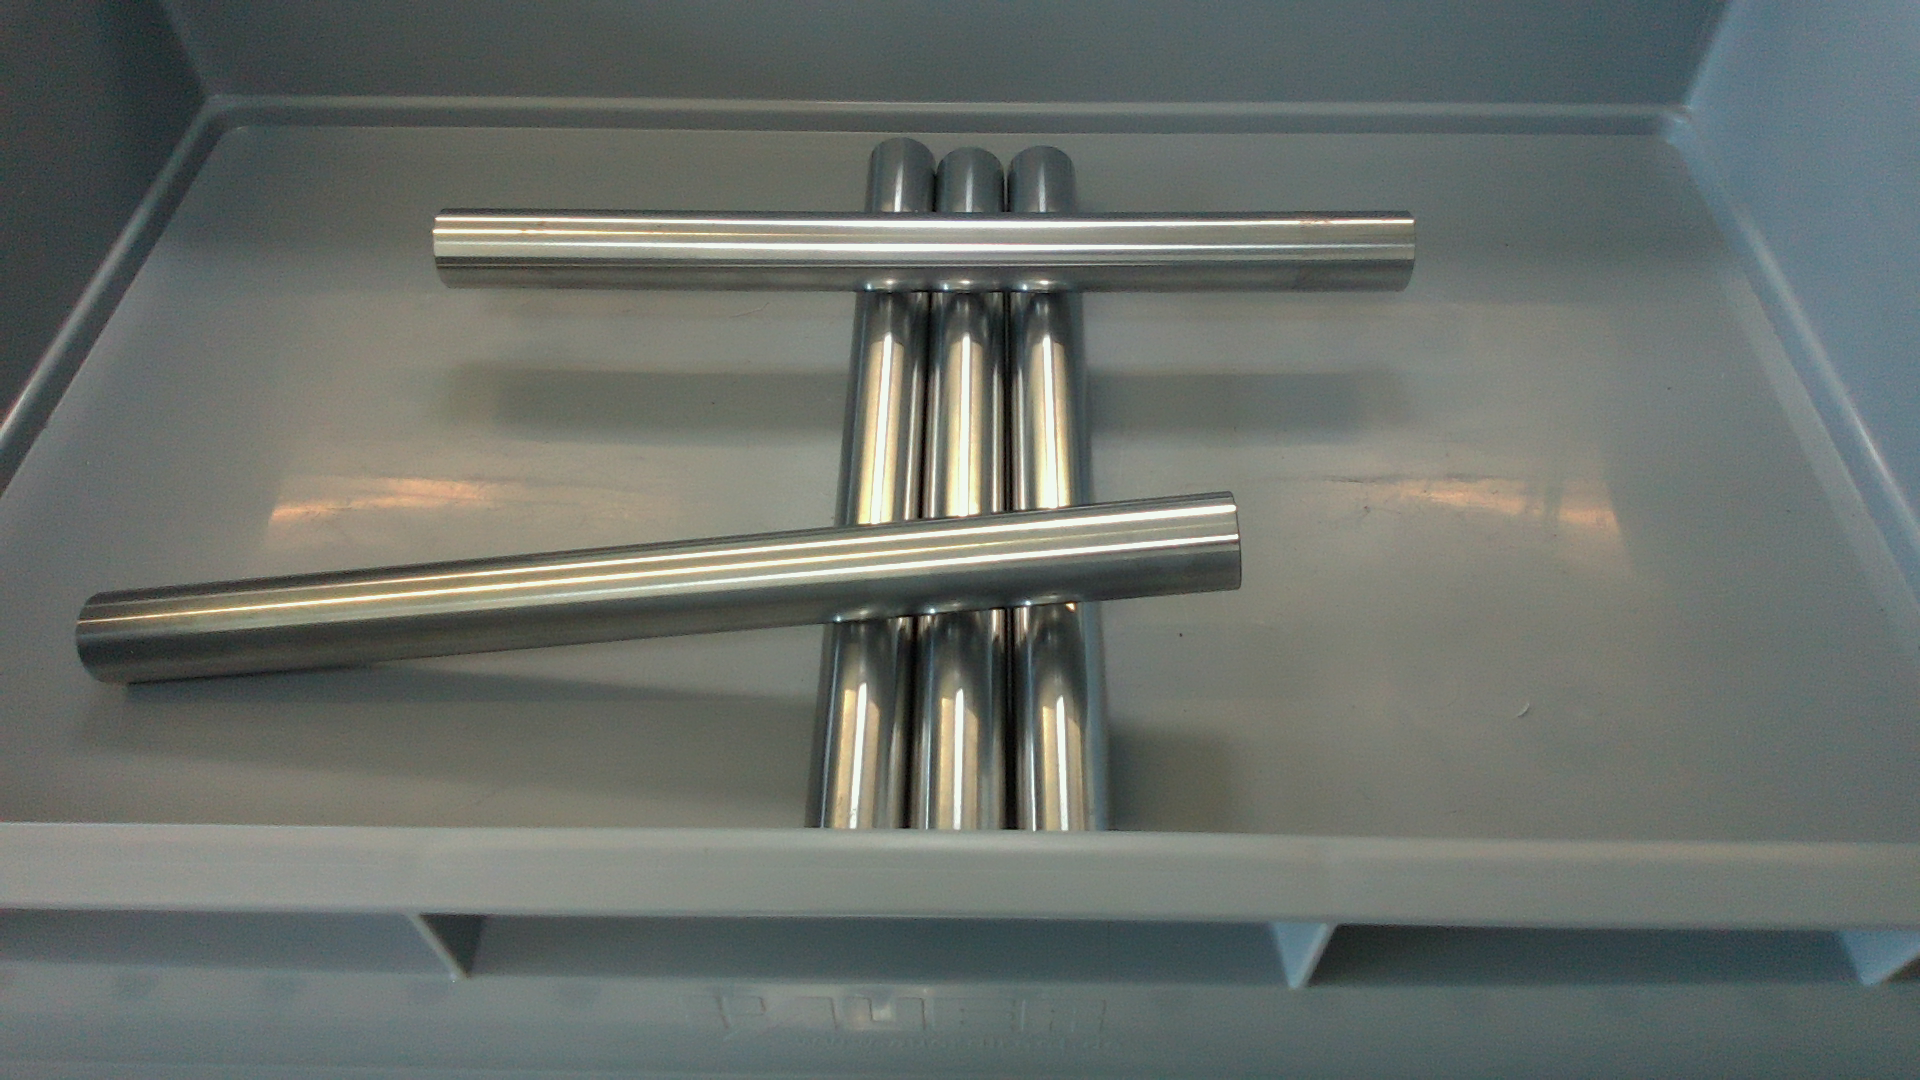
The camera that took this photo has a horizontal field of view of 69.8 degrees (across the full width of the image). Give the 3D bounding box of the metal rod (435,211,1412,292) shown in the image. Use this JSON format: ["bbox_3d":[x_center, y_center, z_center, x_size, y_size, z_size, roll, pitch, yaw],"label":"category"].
[{"bbox_3d":[-0.011,-0.091,0.434,0.300,0.025,0.025,0,50,0],"label":"metal rod"}]

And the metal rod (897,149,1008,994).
[{"bbox_3d":[0.001,-0.018,0.406,0.025,0.025,0.300,1,50,1],"label":"metal rod"}]

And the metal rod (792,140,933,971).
[{"bbox_3d":[-0.024,-0.022,0.410,0.025,0.025,0.300,1,50,1],"label":"metal rod"}]

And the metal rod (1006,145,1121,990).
[{"bbox_3d":[0.026,-0.019,0.405,0.025,0.025,0.300,1,50,1],"label":"metal rod"}]

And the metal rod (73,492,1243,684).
[{"bbox_3d":[-0.080,0.013,0.356,0.300,0.025,0.025,-5,50,5],"label":"metal rod"}]
